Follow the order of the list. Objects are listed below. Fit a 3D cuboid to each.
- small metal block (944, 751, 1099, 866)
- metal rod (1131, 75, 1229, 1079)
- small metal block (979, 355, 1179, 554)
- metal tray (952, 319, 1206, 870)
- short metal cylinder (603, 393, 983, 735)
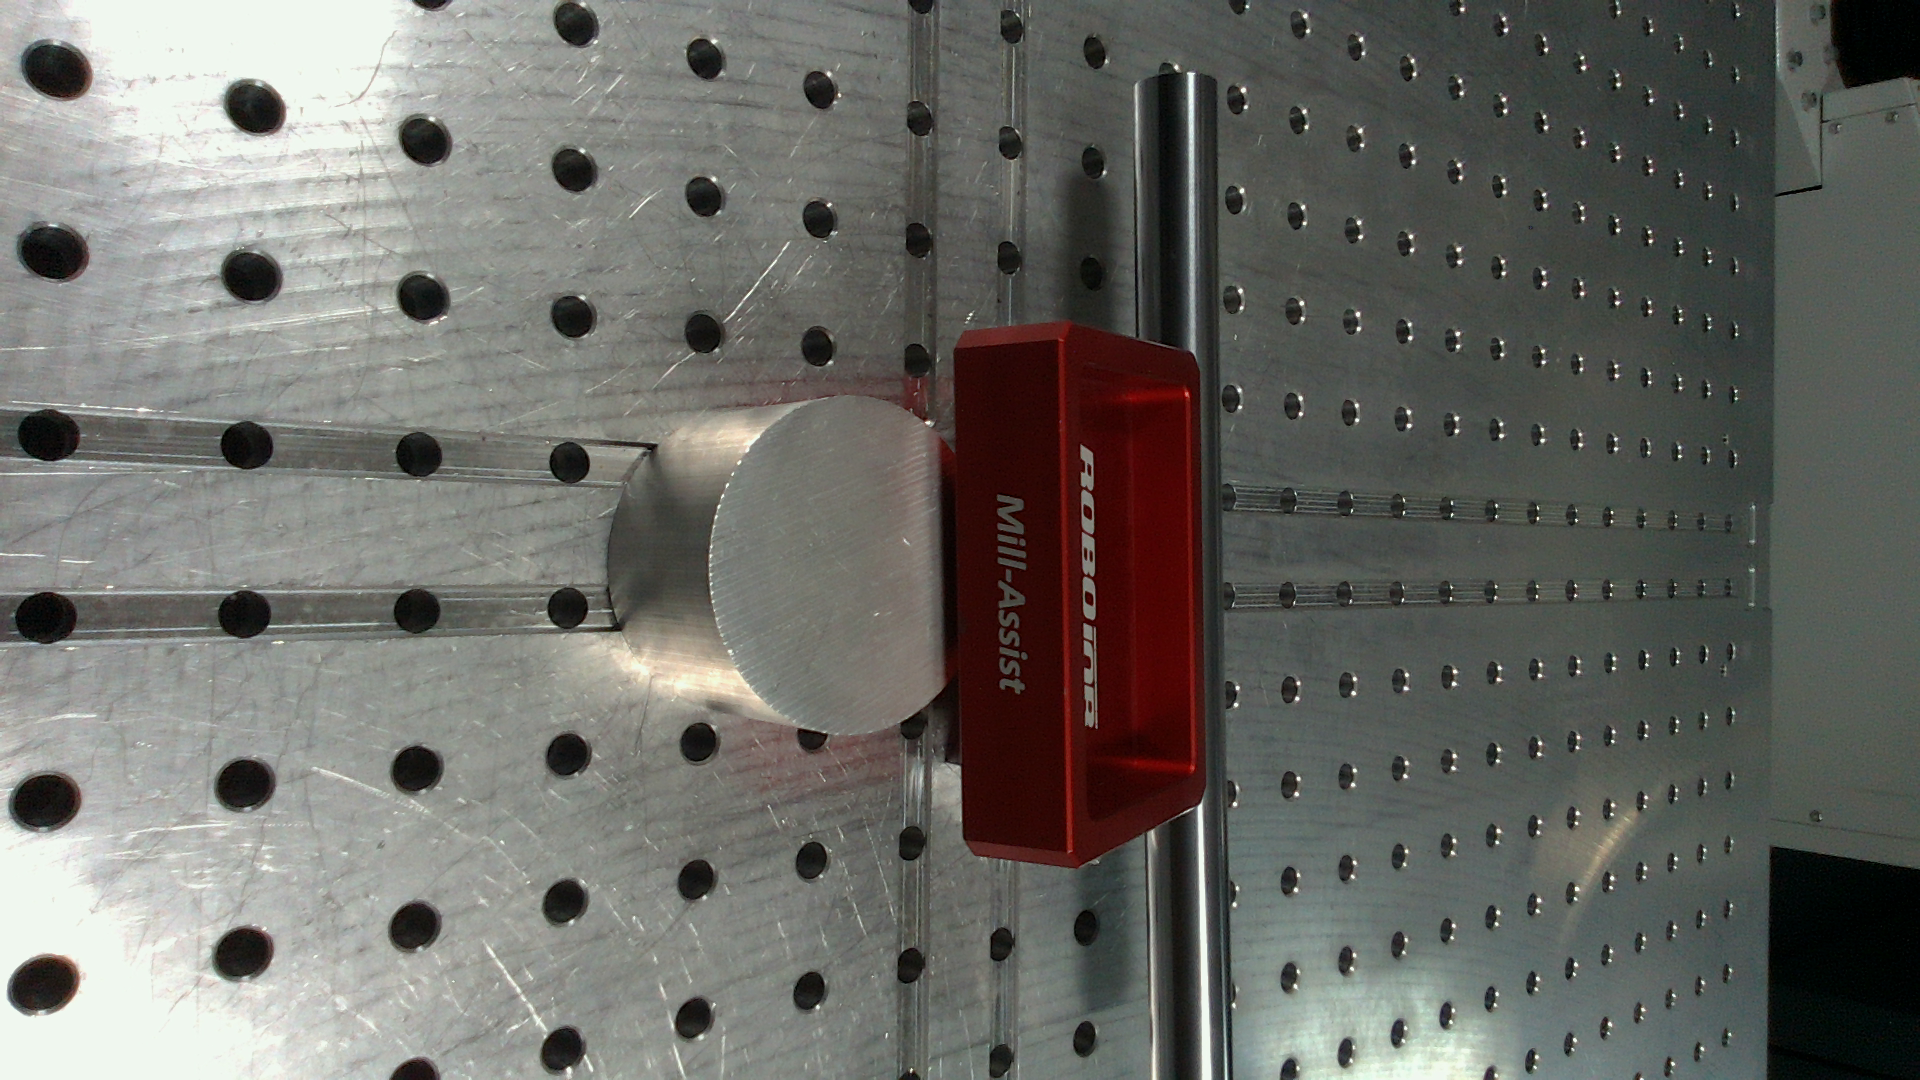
[{"bbox_3d":[0.030,0.062,0.416,0.050,0.025,0.050,46,62,-30],"label":"small metal block"},{"bbox_3d":[0.066,0.015,0.414,0.025,0.025,0.300,-2,91,-40],"label":"metal rod"},{"bbox_3d":[0.037,-0.027,0.423,0.050,0.025,0.050,-19,102,-38],"label":"small metal block"},{"bbox_3d":[0.035,0.012,0.366,0.090,0.030,0.130,-3,92,-59],"label":"metal tray"},{"bbox_3d":[-0.040,0.006,0.341,0.080,0.050,0.080,0,90,-40],"label":"short metal cylinder"}]
